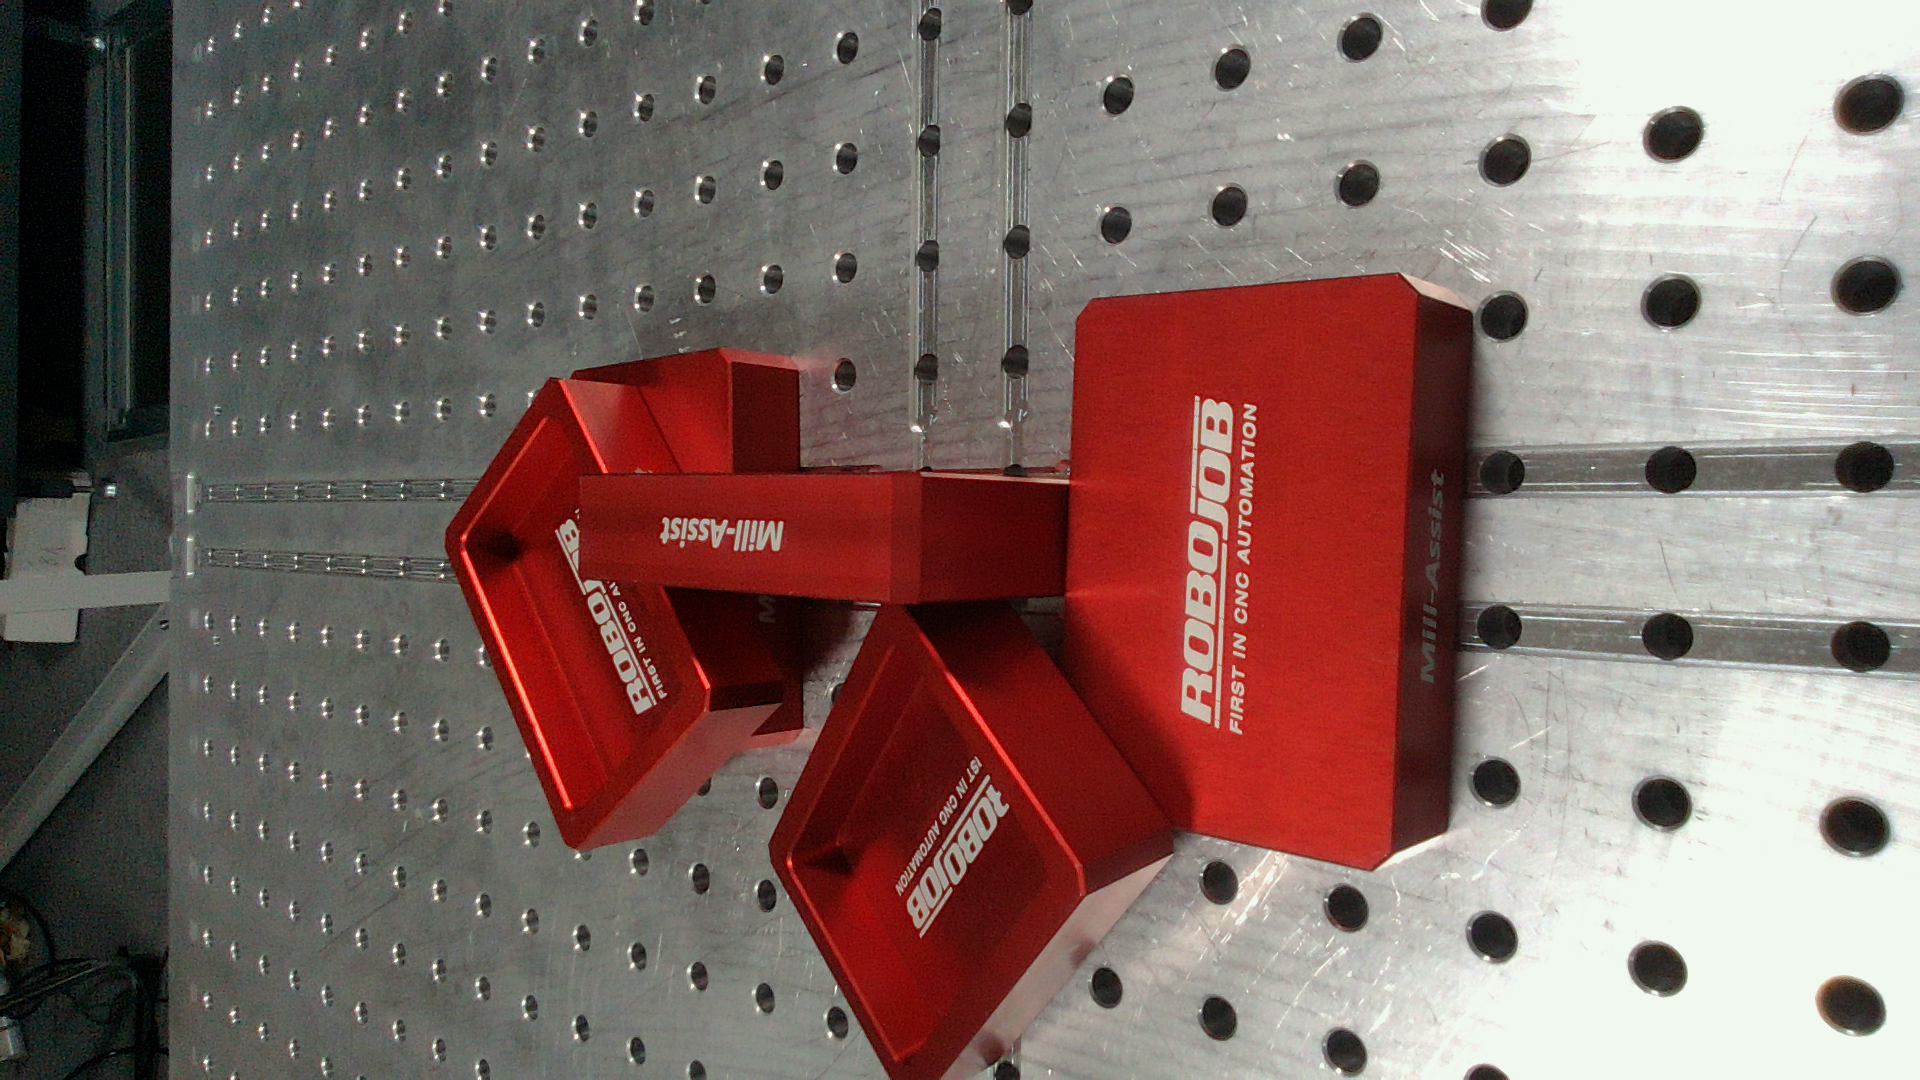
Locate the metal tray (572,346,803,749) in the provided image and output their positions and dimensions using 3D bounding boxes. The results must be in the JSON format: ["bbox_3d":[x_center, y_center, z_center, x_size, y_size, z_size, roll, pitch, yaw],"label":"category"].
[{"bbox_3d":[-0.097,0.004,0.476,0.090,0.030,0.130,-2,90,41],"label":"metal tray"}]

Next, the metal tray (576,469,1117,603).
[{"bbox_3d":[-0.033,-0.002,0.382,0.129,0.090,0.030,2,91,40],"label":"metal tray"}]

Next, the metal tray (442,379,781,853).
[{"bbox_3d":[-0.119,0.023,0.453,0.090,0.030,0.130,-45,63,30],"label":"metal tray"}]

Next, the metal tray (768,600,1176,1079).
[{"bbox_3d":[-0.004,0.084,0.374,0.090,0.030,0.130,53,138,26],"label":"metal tray"}]

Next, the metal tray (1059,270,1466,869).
[{"bbox_3d":[0.070,0.005,0.334,0.090,0.030,0.130,3,92,40],"label":"metal tray"}]
